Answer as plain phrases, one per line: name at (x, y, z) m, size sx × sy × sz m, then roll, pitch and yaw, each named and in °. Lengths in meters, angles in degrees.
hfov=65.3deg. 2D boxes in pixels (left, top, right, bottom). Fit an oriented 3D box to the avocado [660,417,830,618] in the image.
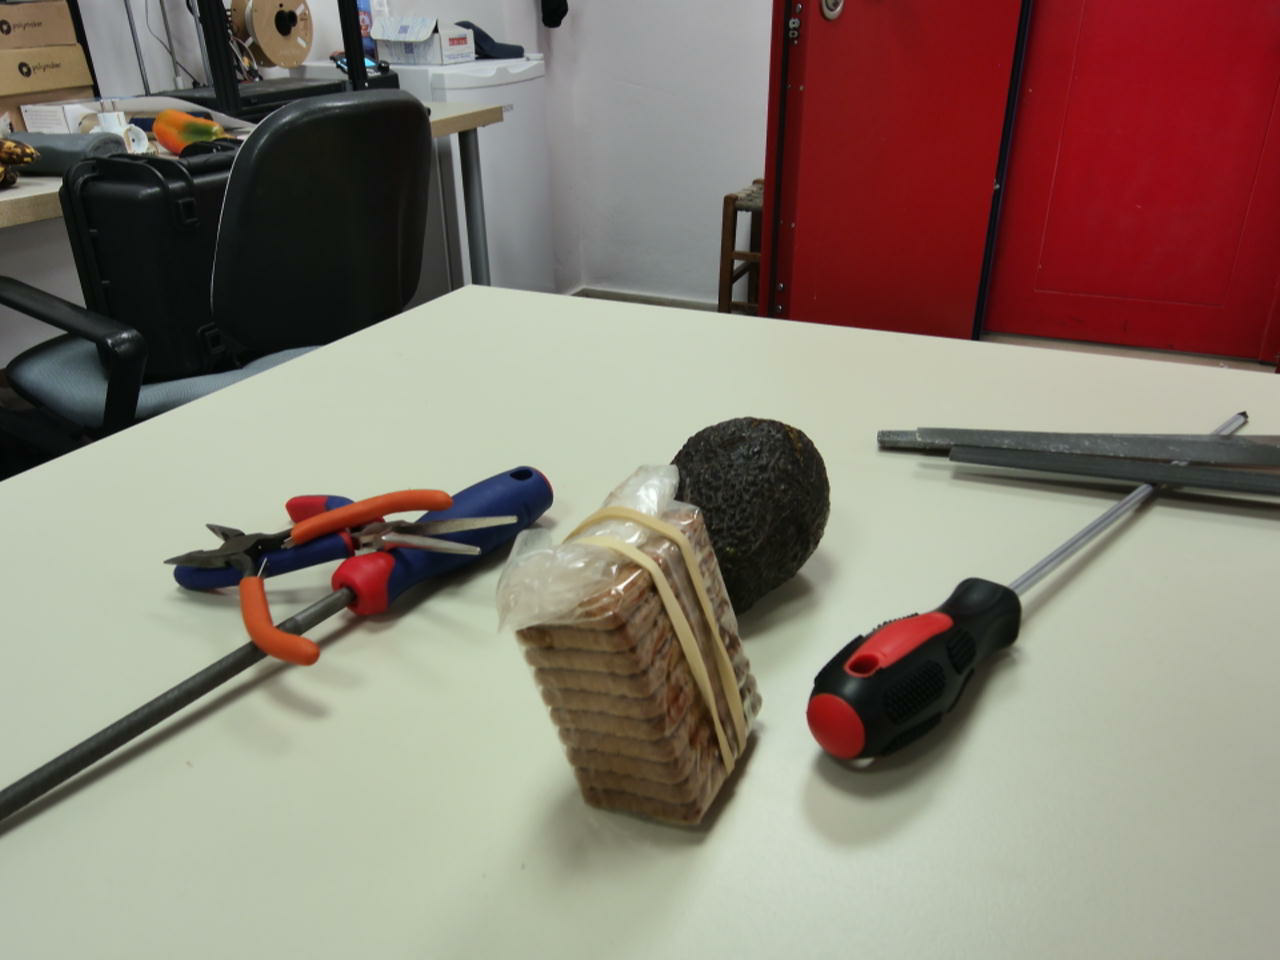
avocado at (0.040, 0.011, 0.416) m, size 0.090 × 0.069 × 0.070 m, roll -18°, pitch 29°, yaw -35°
